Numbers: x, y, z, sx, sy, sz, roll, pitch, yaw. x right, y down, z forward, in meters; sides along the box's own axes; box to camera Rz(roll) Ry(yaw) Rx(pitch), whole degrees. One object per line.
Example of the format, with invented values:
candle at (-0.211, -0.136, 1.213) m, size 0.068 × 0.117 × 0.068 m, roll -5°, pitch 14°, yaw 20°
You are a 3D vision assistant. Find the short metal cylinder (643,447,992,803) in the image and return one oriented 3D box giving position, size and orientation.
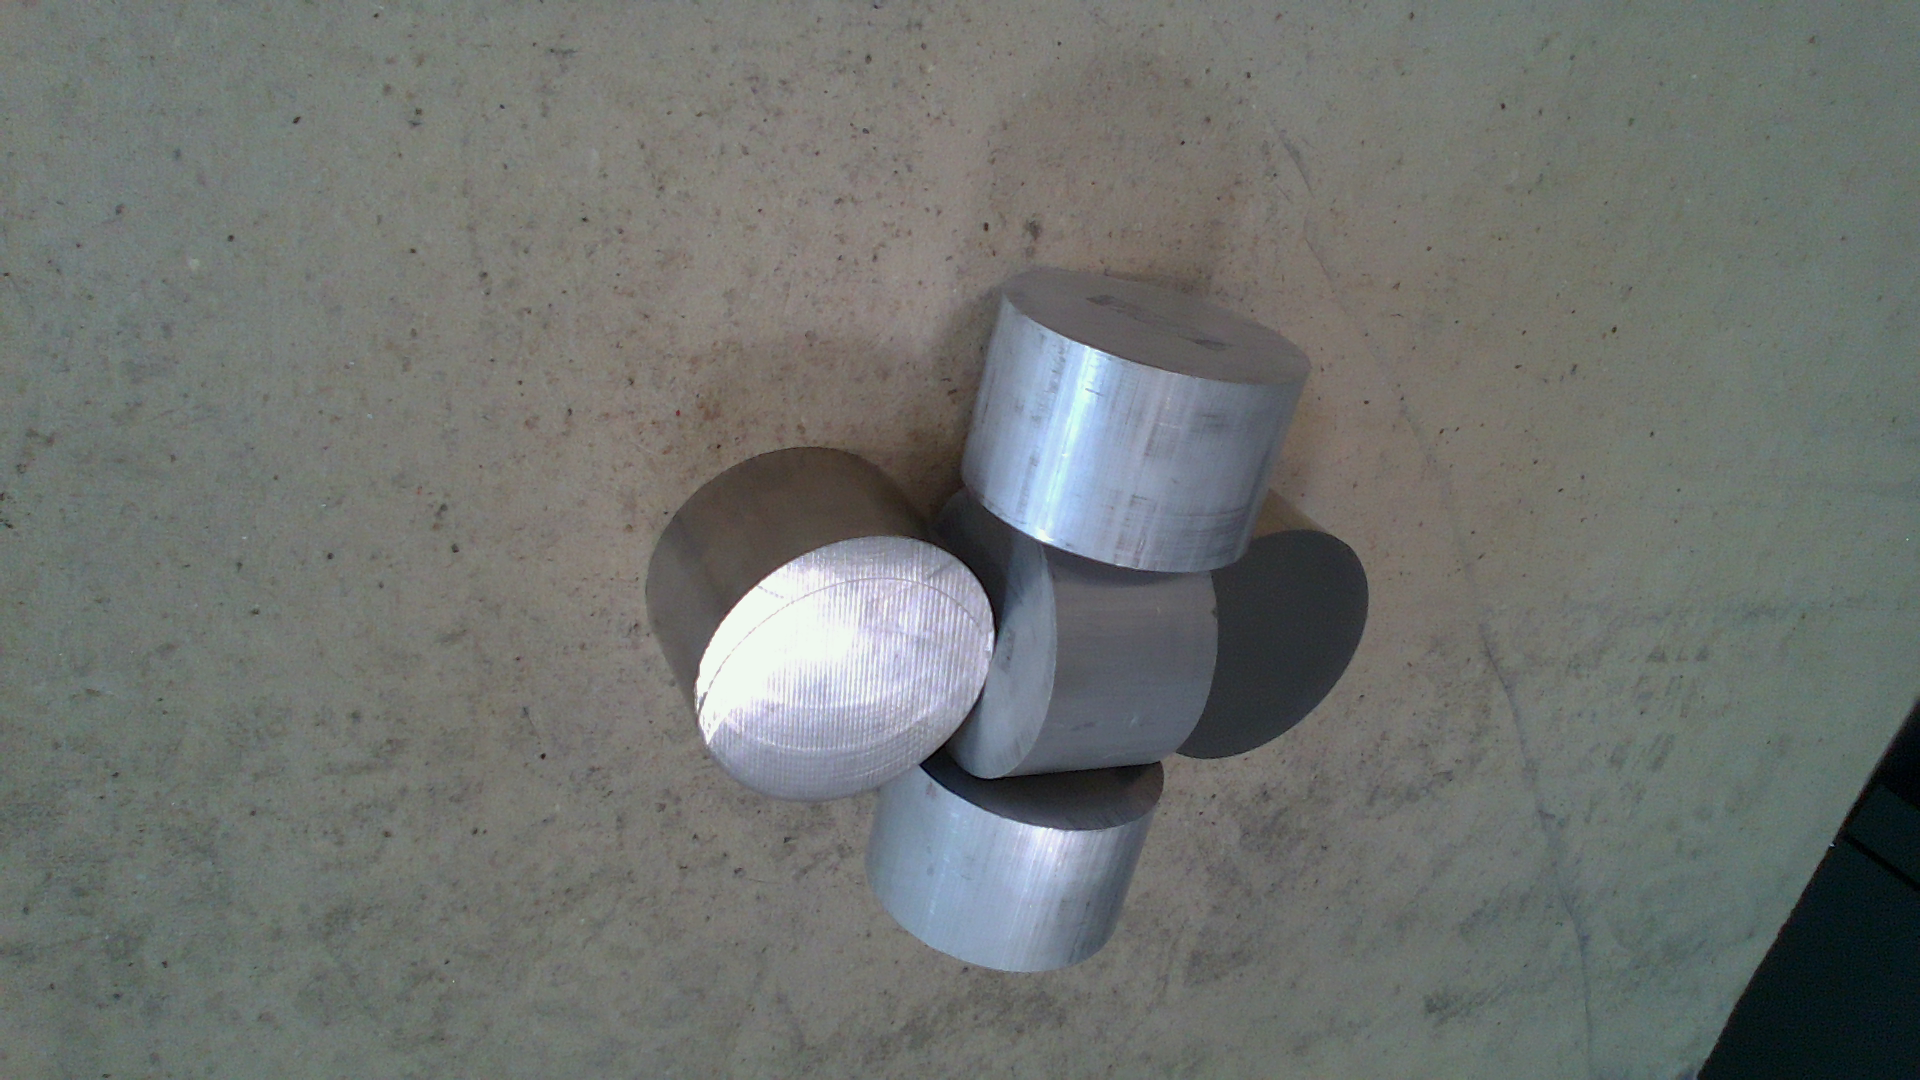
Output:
short metal cylinder at (-0.039, 0.022, 0.366) m, size 0.080 × 0.050 × 0.080 m, roll -14°, pitch 124°, yaw -21°

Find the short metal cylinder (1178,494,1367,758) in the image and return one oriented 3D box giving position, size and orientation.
short metal cylinder at (0.078, 0.020, 0.427) m, size 0.080 × 0.050 × 0.080 m, roll -14°, pitch 124°, yaw -21°

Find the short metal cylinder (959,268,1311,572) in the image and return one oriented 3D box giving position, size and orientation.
short metal cylinder at (0.044, -0.033, 0.358) m, size 0.080 × 0.080 × 0.050 m, roll 0°, pitch 118°, yaw -28°

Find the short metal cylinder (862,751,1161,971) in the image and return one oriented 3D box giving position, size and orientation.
short metal cylinder at (0.015, 0.081, 0.413) m, size 0.080 × 0.080 × 0.050 m, roll 0°, pitch 118°, yaw -28°

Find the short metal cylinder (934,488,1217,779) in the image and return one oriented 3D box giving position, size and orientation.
short metal cylinder at (0.027, 0.024, 0.384) m, size 0.050 × 0.080 × 0.080 m, roll 0°, pitch 118°, yaw -28°
